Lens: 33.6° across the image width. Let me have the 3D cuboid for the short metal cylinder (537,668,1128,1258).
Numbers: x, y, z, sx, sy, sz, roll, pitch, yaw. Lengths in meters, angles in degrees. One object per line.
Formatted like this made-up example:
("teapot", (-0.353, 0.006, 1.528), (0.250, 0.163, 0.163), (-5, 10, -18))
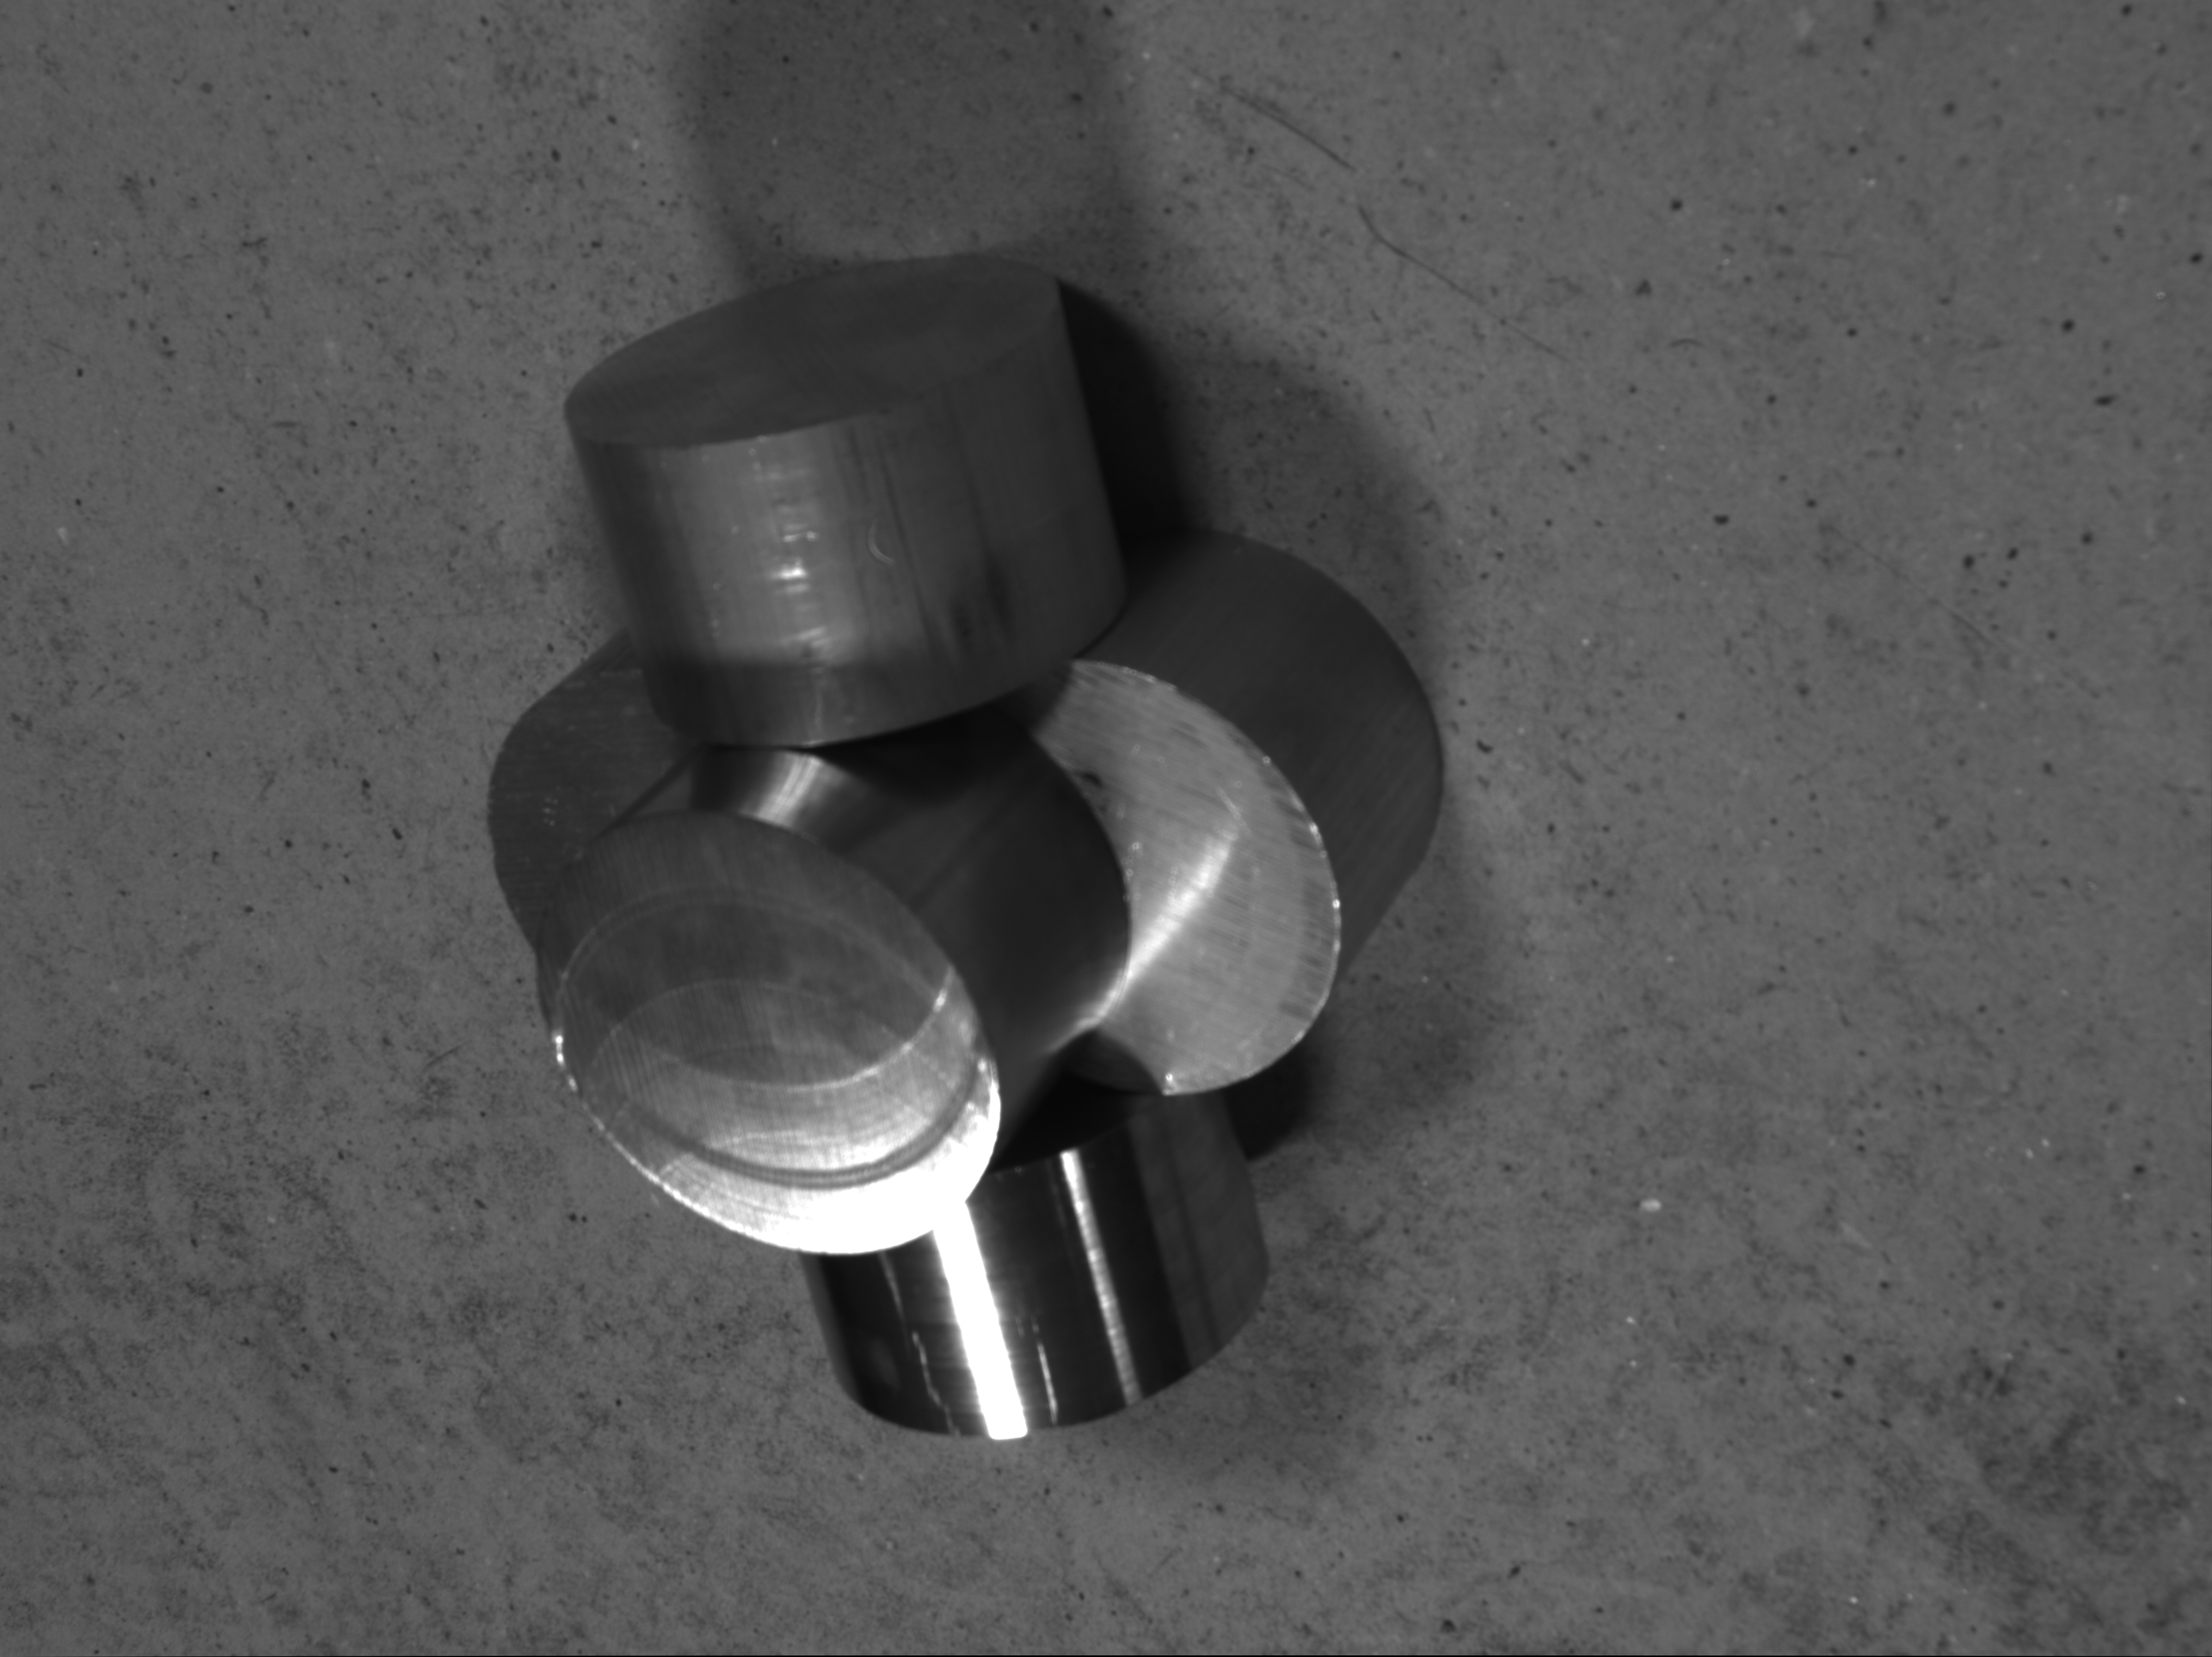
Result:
("short metal cylinder", (-0.043, 0.021, 0.585), (0.080, 0.050, 0.080), (12, 123, 20))

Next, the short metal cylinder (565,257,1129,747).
("short metal cylinder", (-0.041, -0.053, 0.585), (0.080, 0.080, 0.050), (0, 118, 27))

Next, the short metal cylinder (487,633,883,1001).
("short metal cylinder", (-0.061, -0.002, 0.644), (0.080, 0.050, 0.080), (12, 123, 20))

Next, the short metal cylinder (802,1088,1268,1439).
("short metal cylinder", (-0.015, 0.063, 0.642), (0.080, 0.080, 0.050), (0, 118, 27))

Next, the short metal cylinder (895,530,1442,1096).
("short metal cylinder", (0.010, -0.003, 0.609), (0.080, 0.050, 0.080), (12, 123, 20))
